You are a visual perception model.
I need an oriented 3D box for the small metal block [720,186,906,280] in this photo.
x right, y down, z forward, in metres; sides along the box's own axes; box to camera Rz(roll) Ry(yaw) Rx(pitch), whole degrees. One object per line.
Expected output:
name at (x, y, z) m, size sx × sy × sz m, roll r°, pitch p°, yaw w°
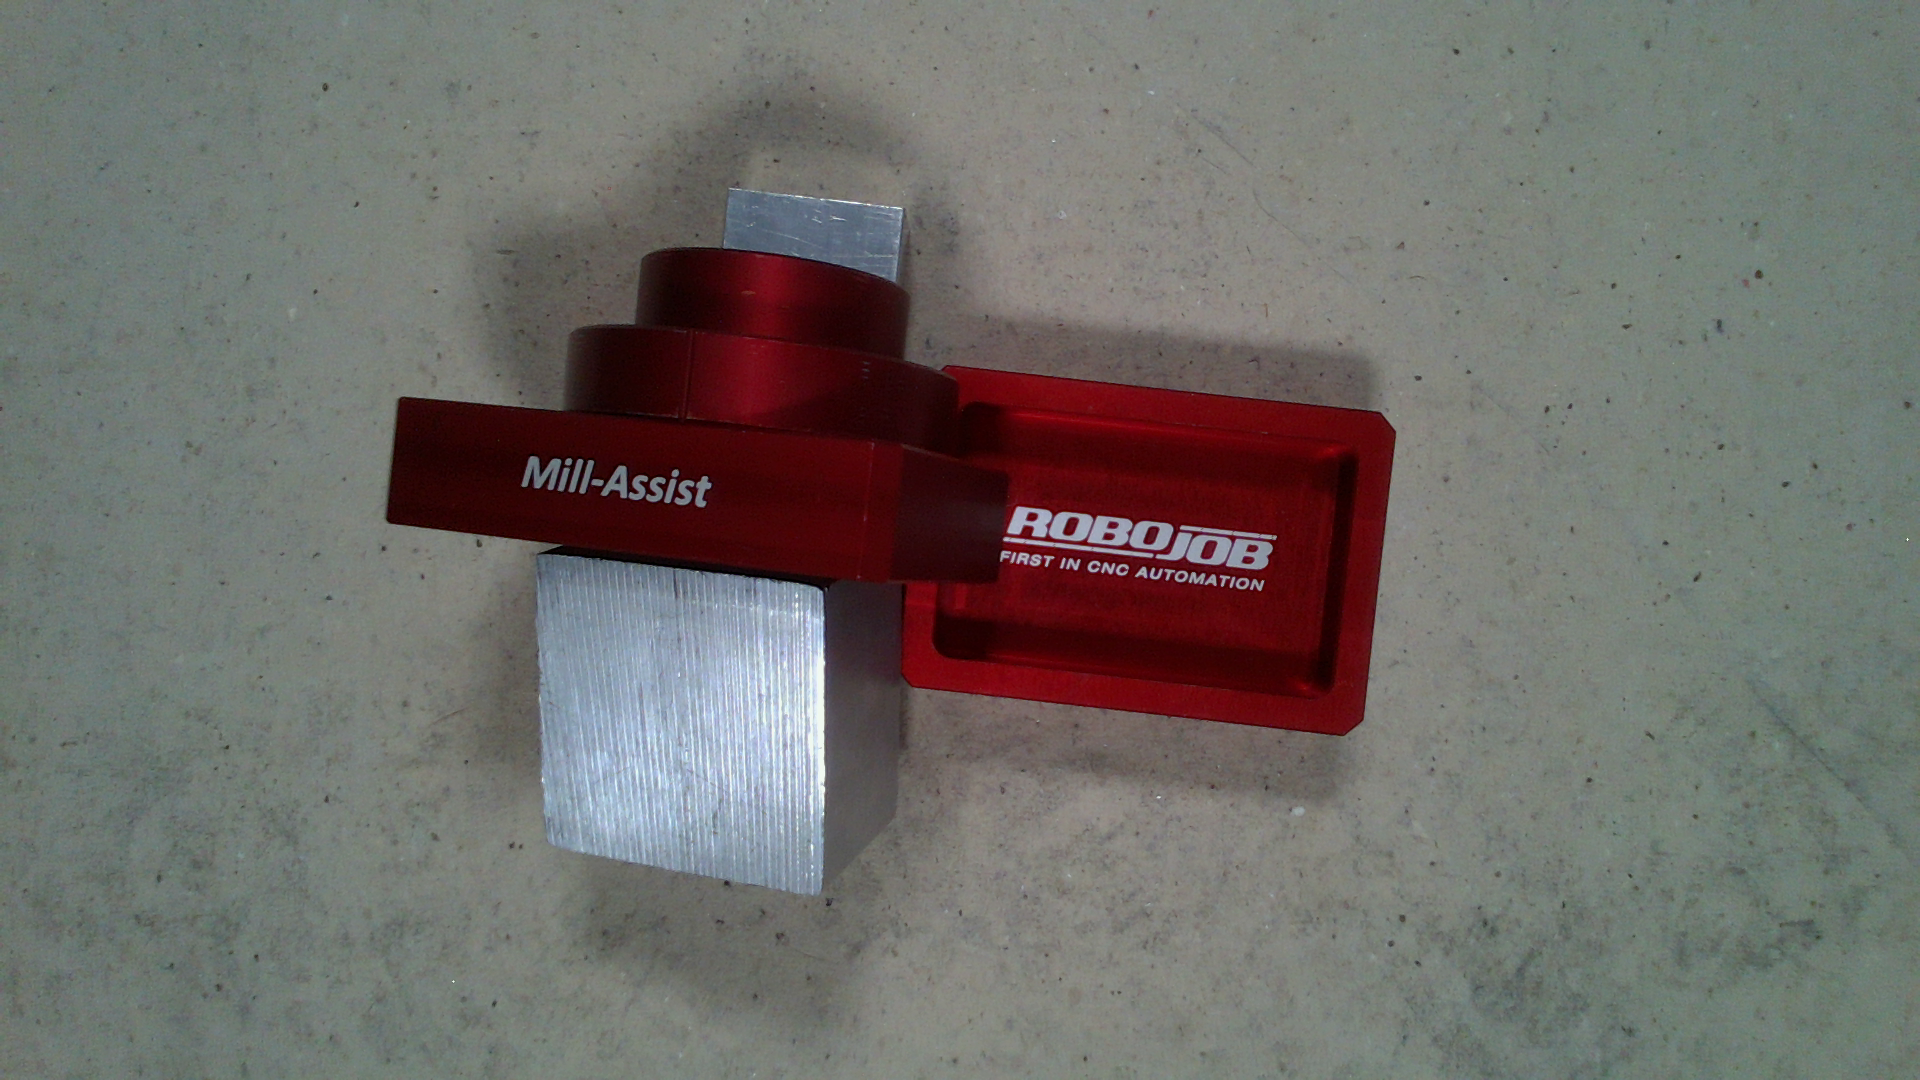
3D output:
small metal block at (-0.043, -0.071, 0.396) m, size 0.050 × 0.025 × 0.050 m, roll 6°, pitch 90°, yaw 0°

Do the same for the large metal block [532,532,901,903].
large metal block at (-0.062, 0.041, 0.364) m, size 0.080 × 0.050 × 0.080 m, roll 6°, pitch 103°, yaw 18°

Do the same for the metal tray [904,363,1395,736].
metal tray at (0.051, 0.003, 0.393) m, size 0.130 × 0.030 × 0.090 m, roll 6°, pitch 90°, yaw 0°

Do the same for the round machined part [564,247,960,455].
round machined part at (-0.049, -0.045, 0.348) m, size 0.098 × 0.098 × 0.042 m, roll 6°, pitch 90°, yaw 0°

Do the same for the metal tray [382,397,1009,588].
metal tray at (-0.063, -0.011, 0.346) m, size 0.130 × 0.090 × 0.030 m, roll 7°, pitch 91°, yaw 18°
